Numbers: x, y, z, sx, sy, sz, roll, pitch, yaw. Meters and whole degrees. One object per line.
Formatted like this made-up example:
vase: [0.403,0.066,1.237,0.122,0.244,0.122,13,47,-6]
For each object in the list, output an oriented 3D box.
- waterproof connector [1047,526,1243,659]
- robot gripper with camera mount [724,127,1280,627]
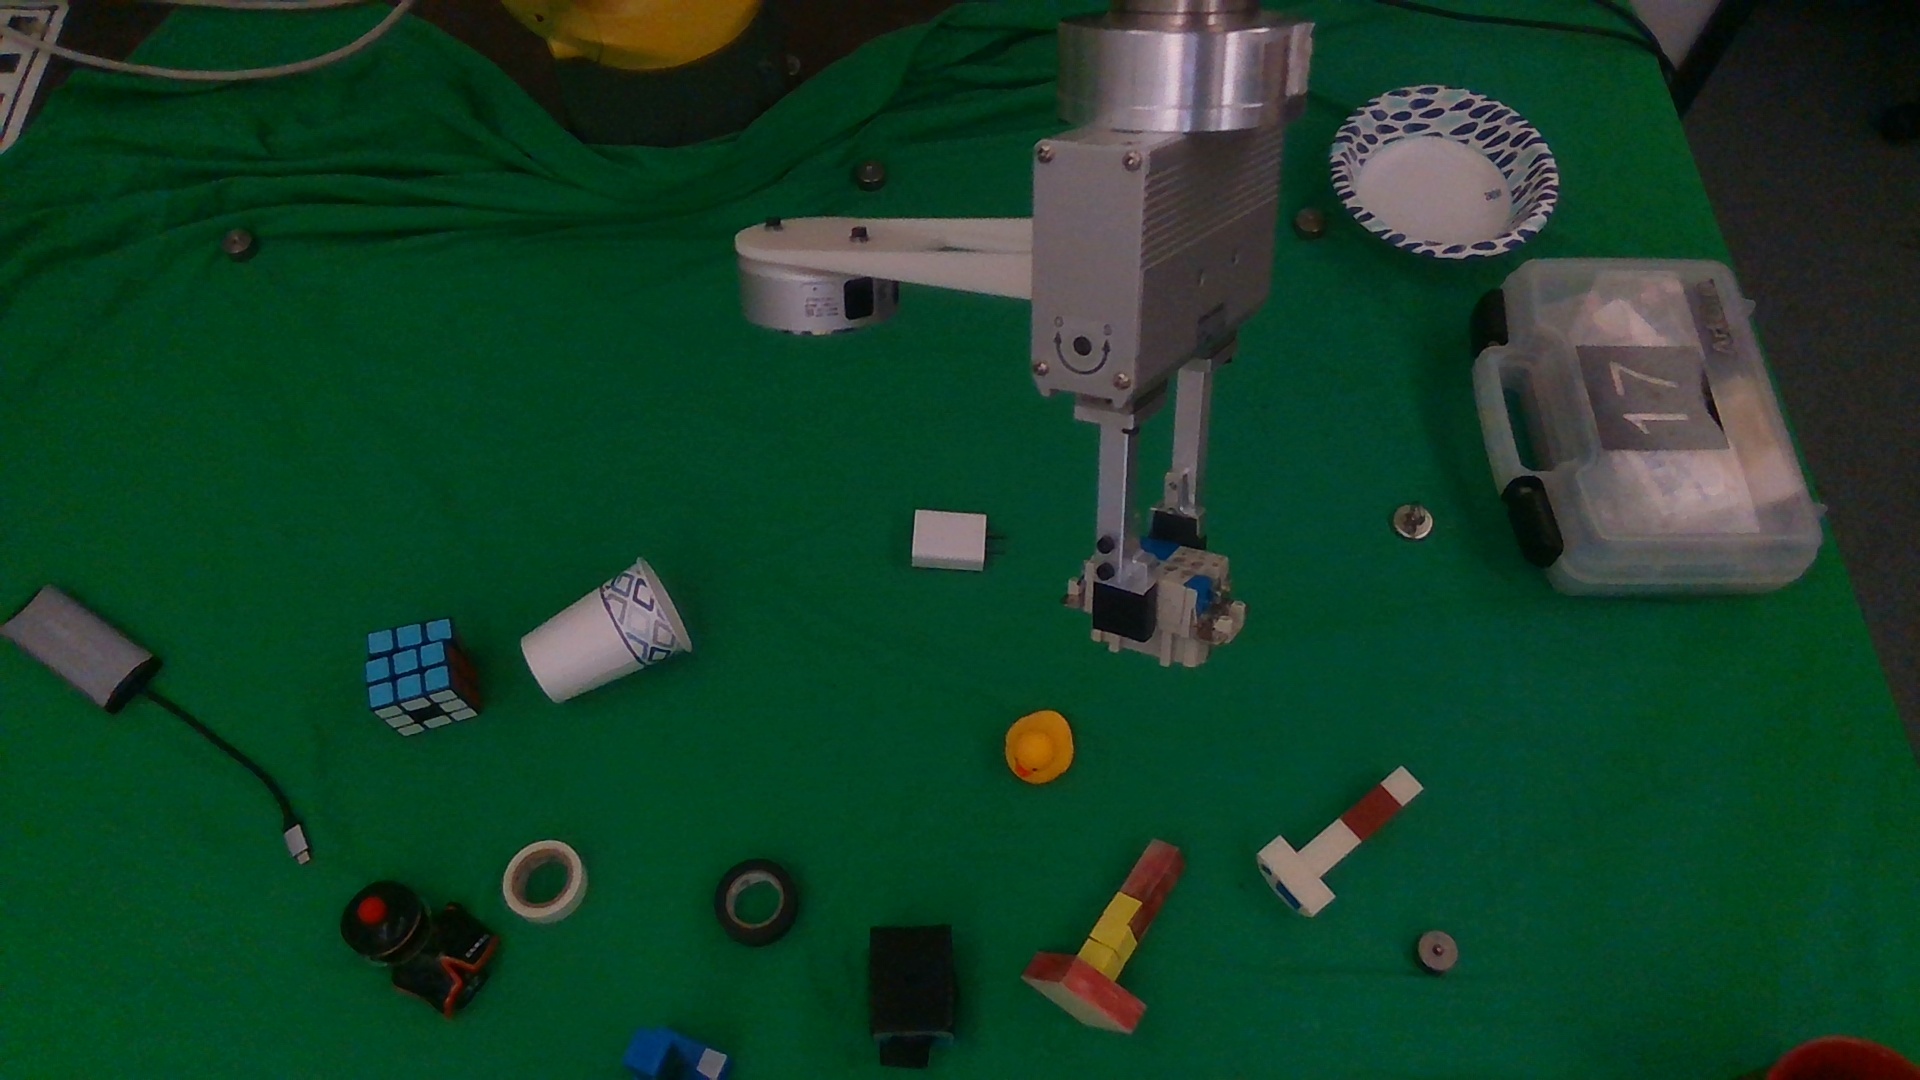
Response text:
waterproof connector: [0.066,0.019,0.500,0.065,0.037,0.035,13,30,25]
robot gripper with camera mount: [-0.006,-0.067,0.503,0.194,0.158,0.118,15,29,27]
